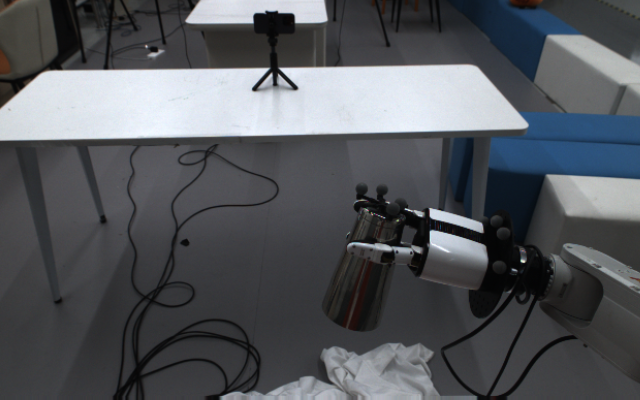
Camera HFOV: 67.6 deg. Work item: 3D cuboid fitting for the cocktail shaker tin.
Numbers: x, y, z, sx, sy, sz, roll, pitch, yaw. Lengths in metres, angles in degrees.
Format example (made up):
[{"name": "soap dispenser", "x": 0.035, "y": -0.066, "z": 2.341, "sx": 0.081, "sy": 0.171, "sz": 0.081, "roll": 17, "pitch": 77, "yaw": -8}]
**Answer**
[{"name": "cocktail shaker tin", "x": 0.069, "y": 0.090, "z": 0.707, "sx": 0.093, "sy": 0.170, "sz": 0.093, "roll": 14, "pitch": 18, "yaw": -5}]
